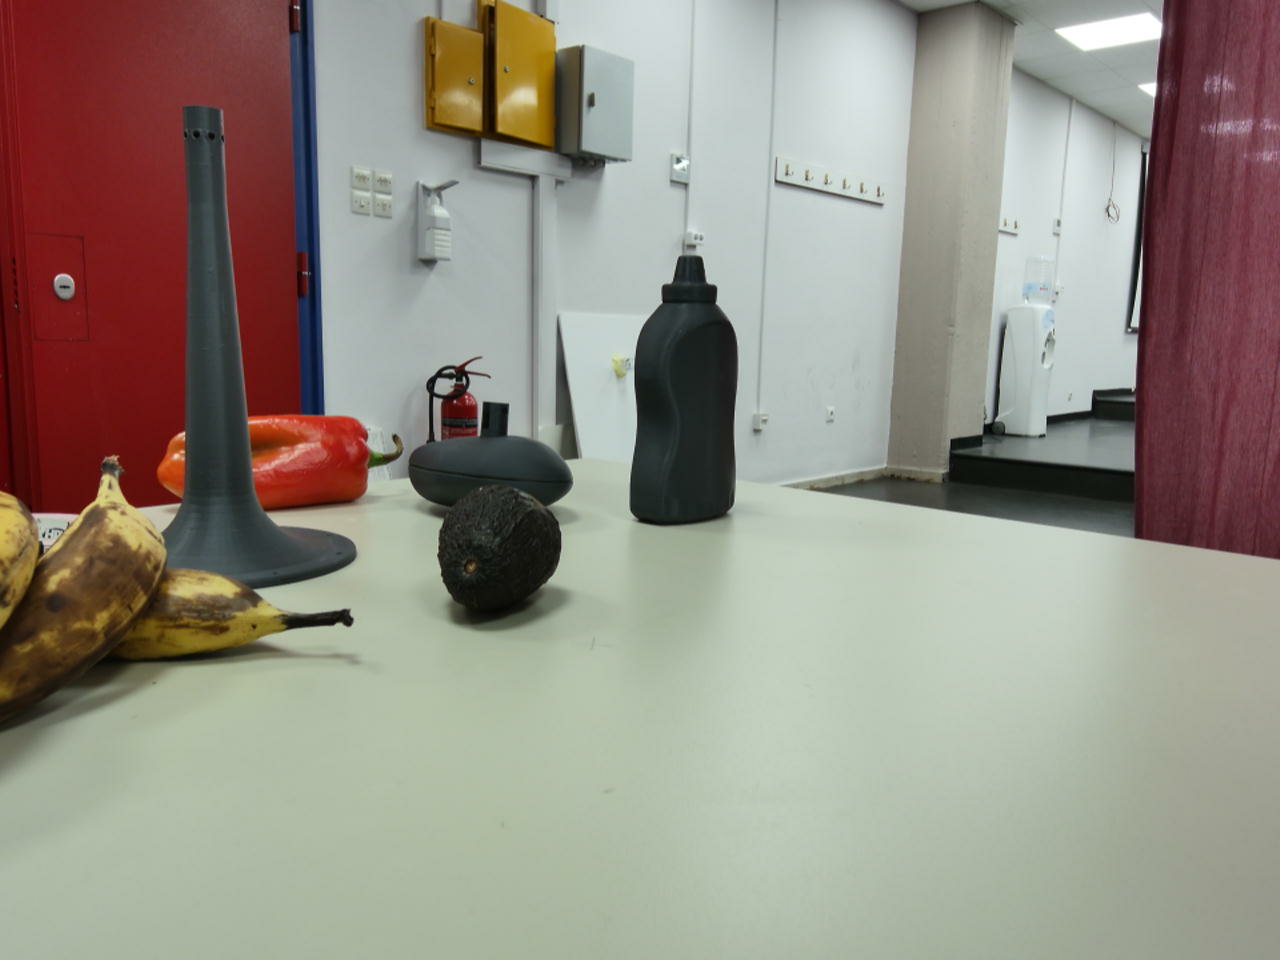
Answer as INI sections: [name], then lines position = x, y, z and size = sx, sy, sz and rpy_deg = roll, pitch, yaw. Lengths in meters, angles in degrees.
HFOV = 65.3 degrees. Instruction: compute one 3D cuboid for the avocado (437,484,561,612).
[avocado]
position = -0.075, 0.034, 0.513
size = 0.062, 0.062, 0.092
rpy_deg = 3, 7, 18
